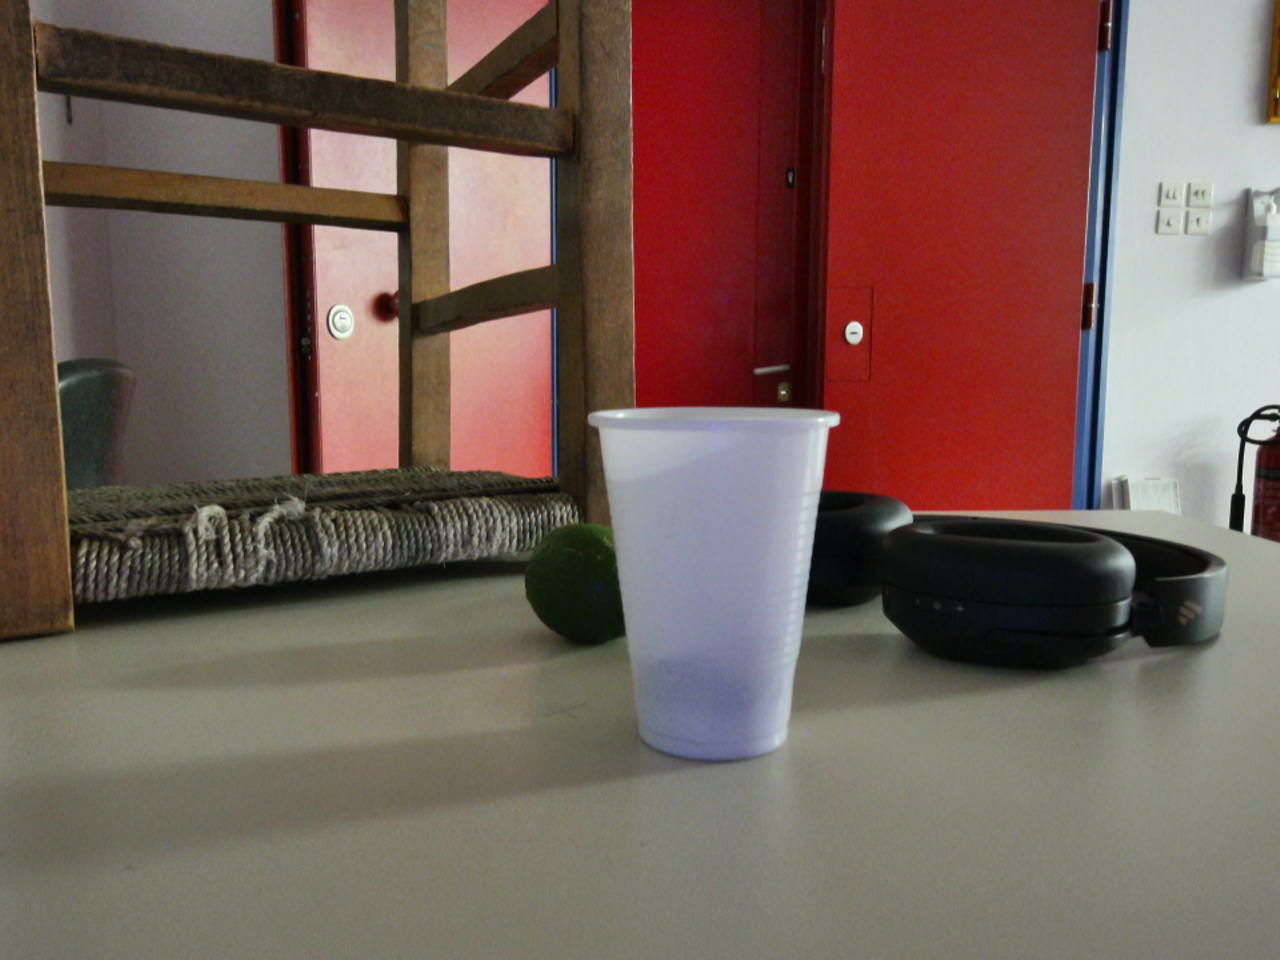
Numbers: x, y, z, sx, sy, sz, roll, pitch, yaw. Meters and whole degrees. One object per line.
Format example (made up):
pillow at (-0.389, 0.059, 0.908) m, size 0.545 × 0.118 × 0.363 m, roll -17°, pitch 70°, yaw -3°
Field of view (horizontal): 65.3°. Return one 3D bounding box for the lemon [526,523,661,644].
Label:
lemon at (-0.021, 0.045, 0.436) m, size 0.057 × 0.051 × 0.054 m, roll -1°, pitch 4°, yaw -4°
